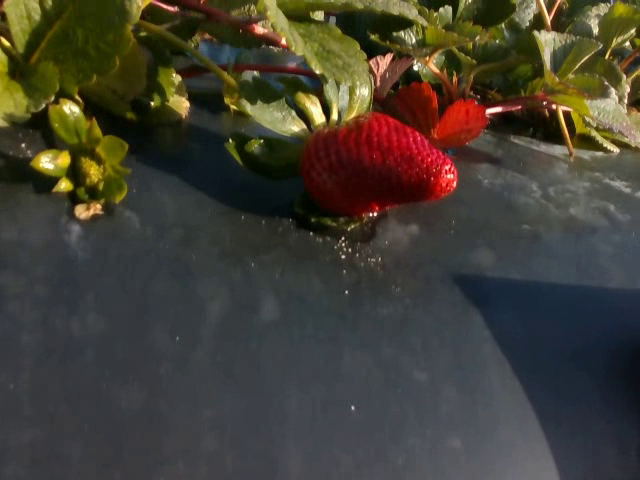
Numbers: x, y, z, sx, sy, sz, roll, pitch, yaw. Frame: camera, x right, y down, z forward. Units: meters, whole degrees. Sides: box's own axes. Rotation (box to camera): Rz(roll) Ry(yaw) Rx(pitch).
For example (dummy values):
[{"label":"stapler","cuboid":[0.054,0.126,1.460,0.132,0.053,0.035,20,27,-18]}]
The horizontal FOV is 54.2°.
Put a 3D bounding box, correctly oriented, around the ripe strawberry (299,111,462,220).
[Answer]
[{"label":"ripe strawberry","cuboid":[0.020,-0.022,0.191,0.056,0.041,0.041,17,52,42]}]
